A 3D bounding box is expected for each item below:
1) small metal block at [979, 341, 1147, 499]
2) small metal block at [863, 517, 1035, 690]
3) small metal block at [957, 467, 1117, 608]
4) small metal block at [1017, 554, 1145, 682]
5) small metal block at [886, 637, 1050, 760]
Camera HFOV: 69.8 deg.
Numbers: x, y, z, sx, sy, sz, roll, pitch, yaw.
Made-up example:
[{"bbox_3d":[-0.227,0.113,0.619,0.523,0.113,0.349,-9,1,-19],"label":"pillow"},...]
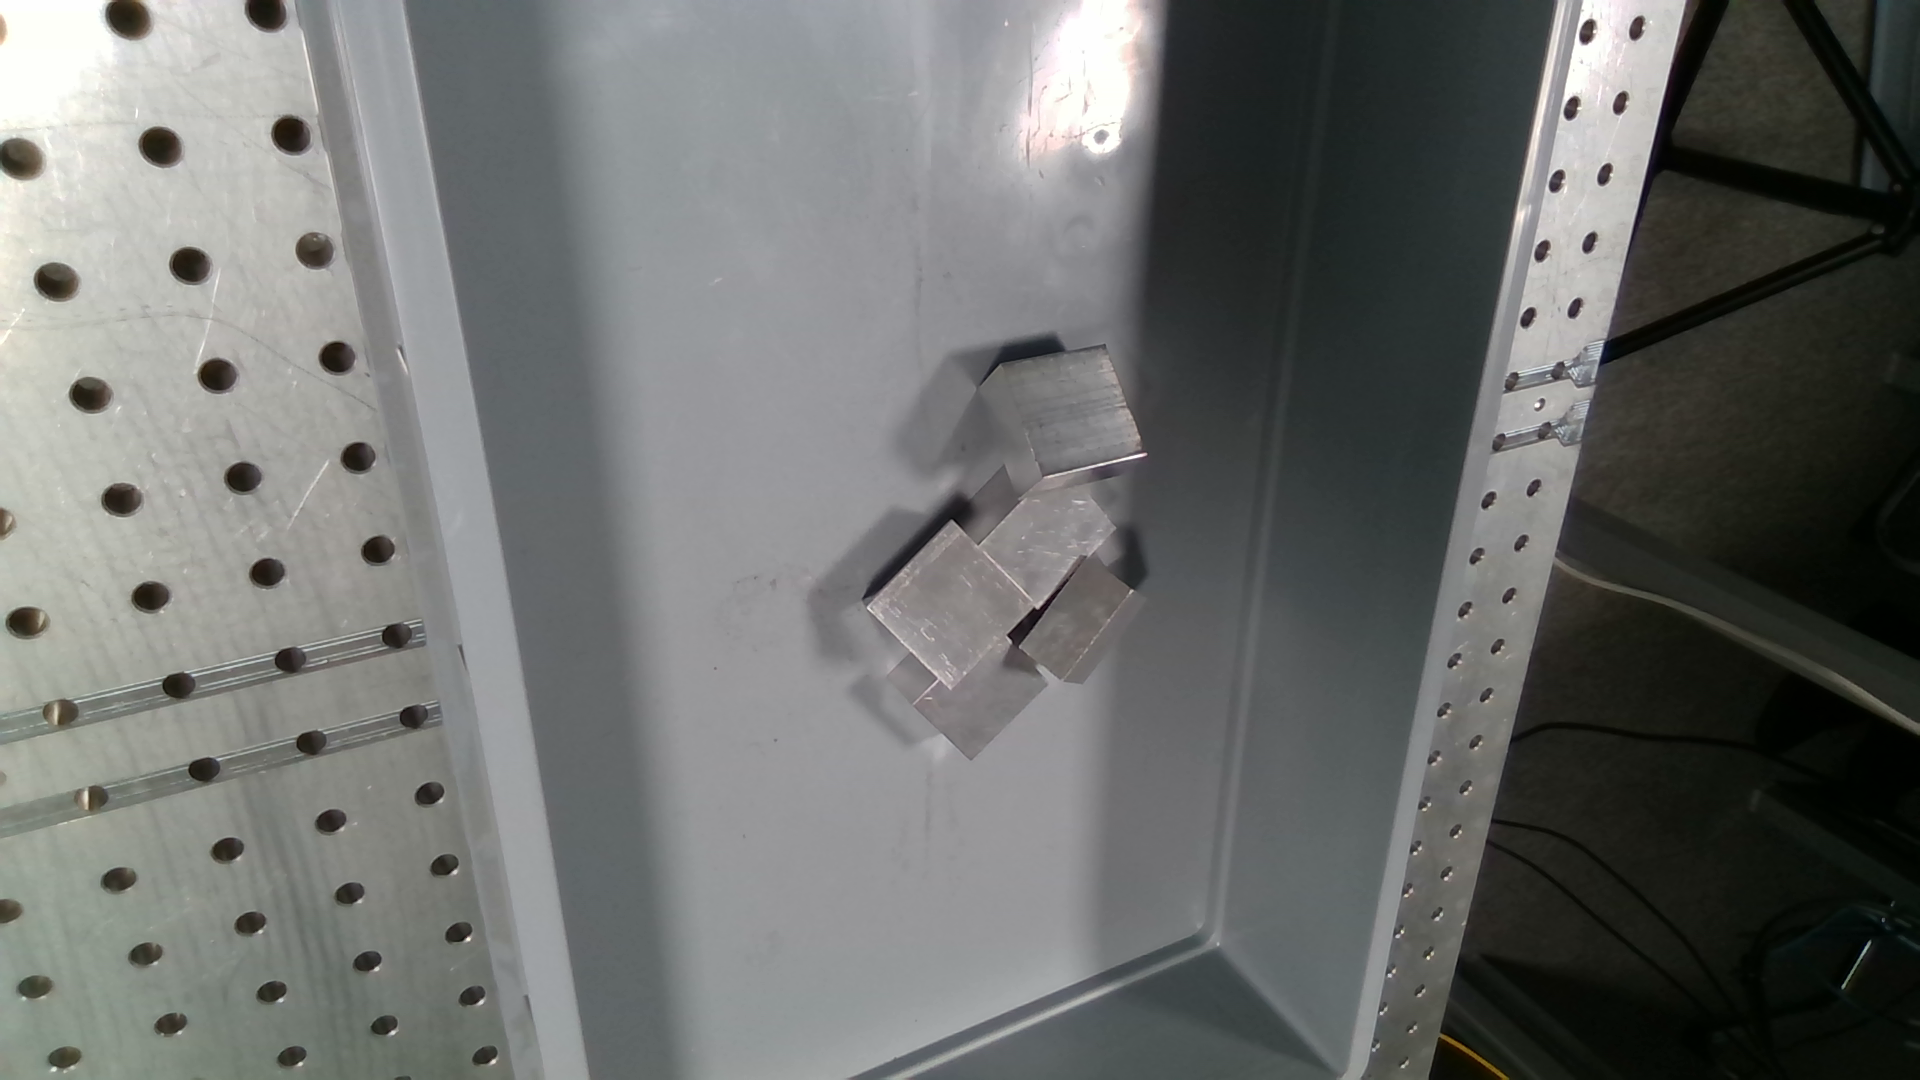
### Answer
[{"bbox_3d":[0.041,-0.049,0.560,0.050,0.025,0.050,-14,78,-26],"label":"small metal block"},{"bbox_3d":[-0.006,0.026,0.574,0.050,0.025,0.050,-45,98,-3],"label":"small metal block"},{"bbox_3d":[0.032,-0.007,0.595,0.050,0.025,0.050,-46,129,-2],"label":"small metal block"},{"bbox_3d":[0.056,0.036,0.618,0.050,0.025,0.050,-53,164,4],"label":"small metal block"},{"bbox_3d":[0.004,0.062,0.615,0.050,0.025,0.050,-44,129,-3],"label":"small metal block"}]
